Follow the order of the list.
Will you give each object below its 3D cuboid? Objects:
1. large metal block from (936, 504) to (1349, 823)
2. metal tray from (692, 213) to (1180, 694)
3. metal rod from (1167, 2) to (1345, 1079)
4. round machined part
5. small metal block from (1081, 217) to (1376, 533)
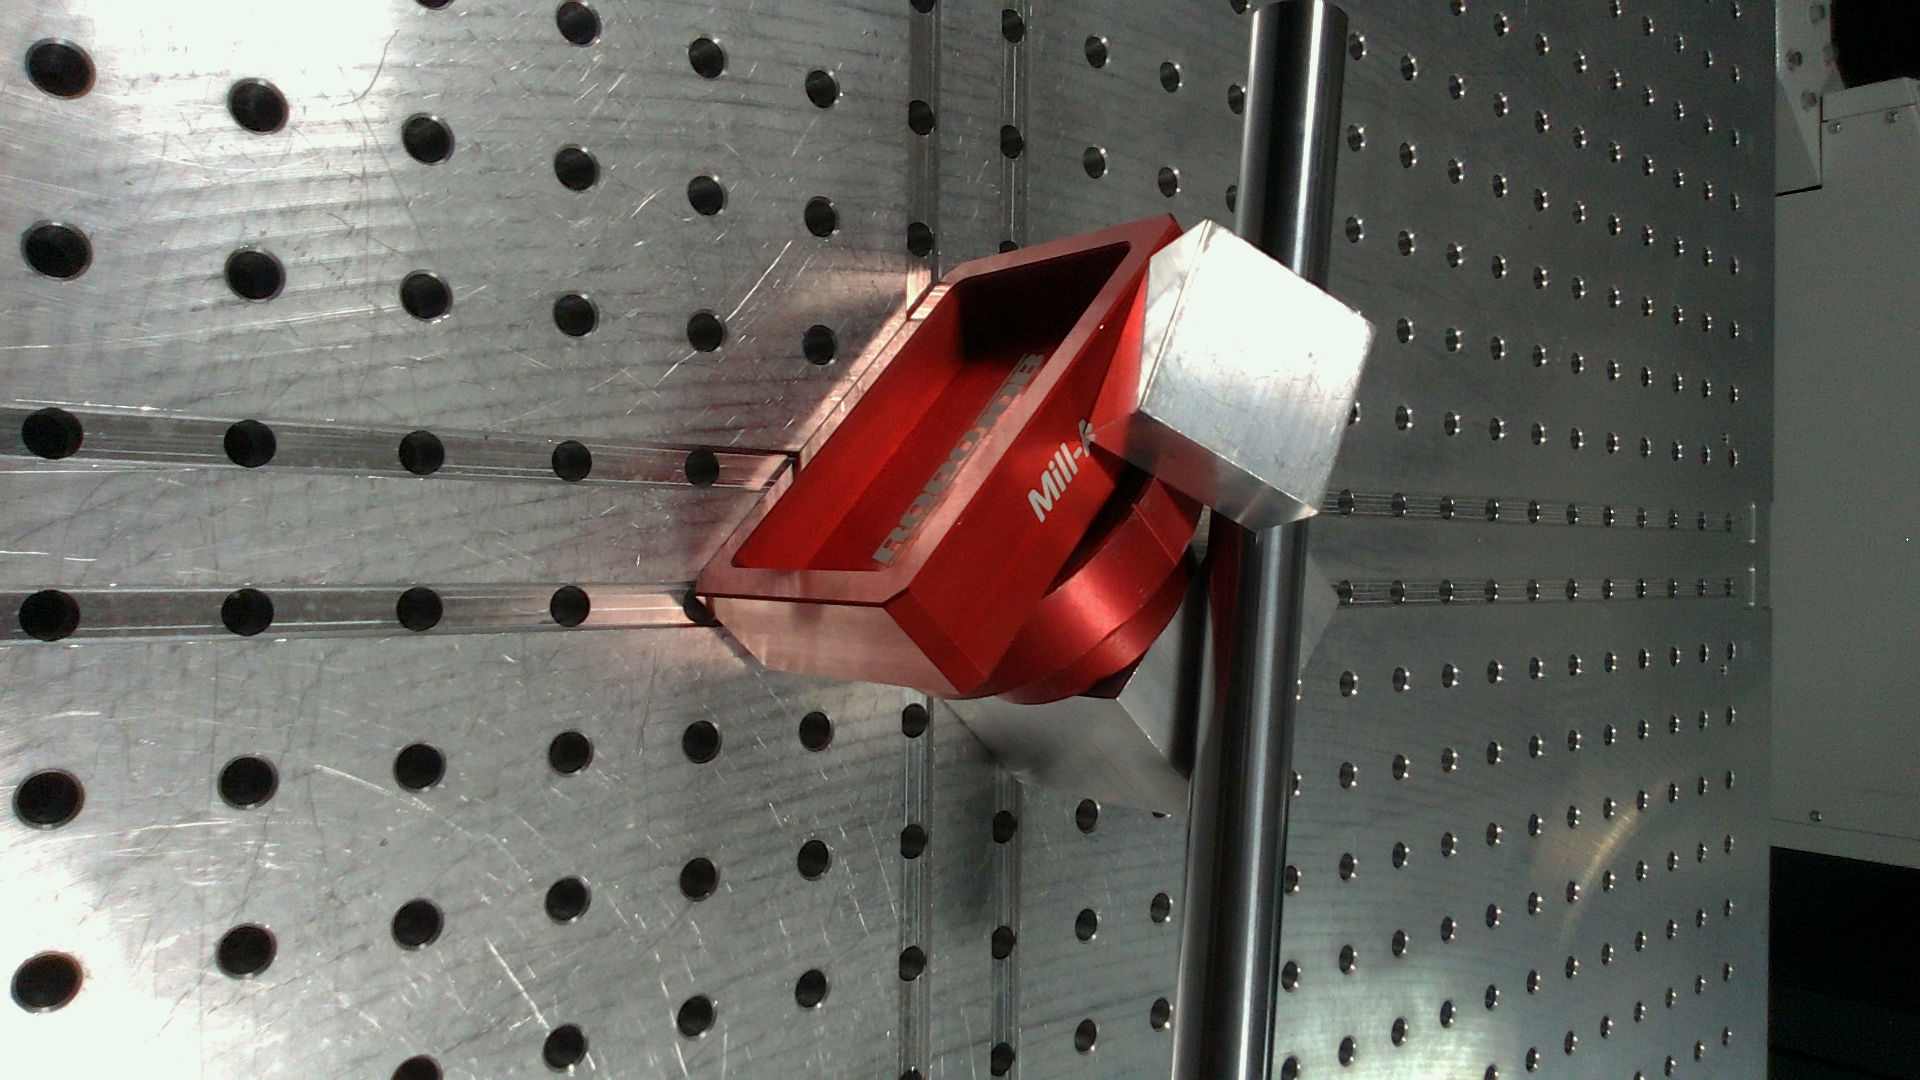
[{"bbox_3d":[0.051,0.030,0.395,0.050,0.080,0.080,50,61,-28],"label":"large metal block"},{"bbox_3d":[0.000,-0.024,0.350,0.030,0.090,0.130,51,60,-28],"label":"metal tray"},{"bbox_3d":[0.075,0.013,0.350,0.025,0.025,0.300,9,84,-39],"label":"metal rod"},{"bbox_3d":[0.018,0.002,0.364,0.042,0.098,0.098,50,61,-28],"label":"round machined part"},{"bbox_3d":[0.062,-0.037,0.317,0.050,0.025,0.050,27,70,-17],"label":"small metal block"}]
